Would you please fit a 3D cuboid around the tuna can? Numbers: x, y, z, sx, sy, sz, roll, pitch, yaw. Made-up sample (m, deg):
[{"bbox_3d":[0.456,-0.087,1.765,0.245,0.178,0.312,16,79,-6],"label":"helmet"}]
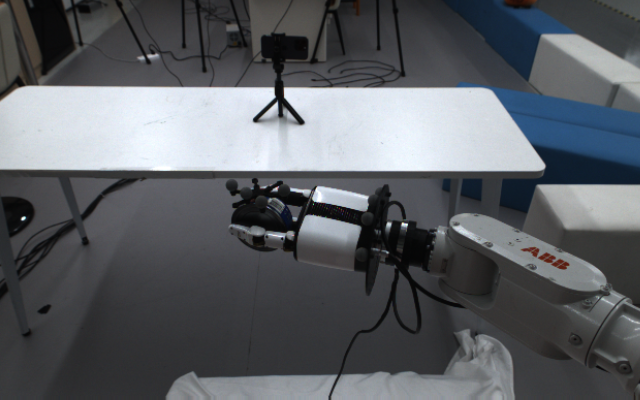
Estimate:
[{"bbox_3d":[-0.083,0.032,0.711,0.085,0.085,0.034,11,34,12],"label":"tuna can"}]
